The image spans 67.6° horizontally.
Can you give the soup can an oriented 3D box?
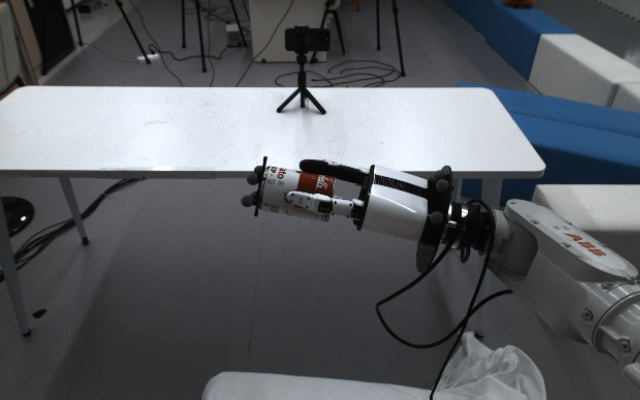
[{"bbox_3d":[-0.030,-0.009,0.706,0.101,0.067,0.067,10,35,0],"label":"soup can"}]
